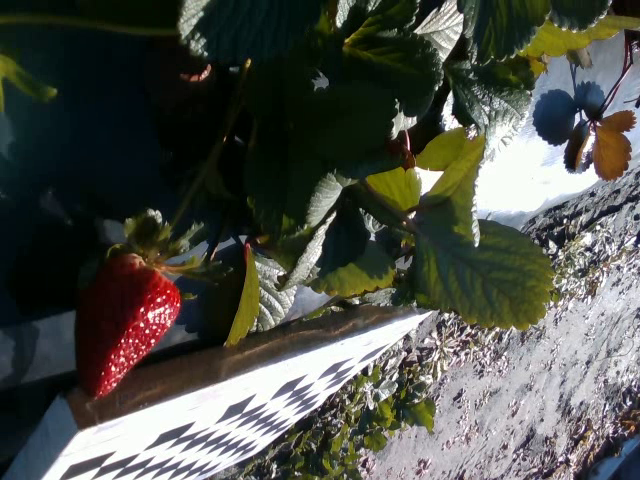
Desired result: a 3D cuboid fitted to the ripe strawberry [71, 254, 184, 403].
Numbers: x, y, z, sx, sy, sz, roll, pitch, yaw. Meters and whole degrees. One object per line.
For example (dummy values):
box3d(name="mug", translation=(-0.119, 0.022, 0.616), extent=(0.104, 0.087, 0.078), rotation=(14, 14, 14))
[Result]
box3d(name="ripe strawberry", translation=(-0.079, 0.032, 0.234), extent=(0.058, 0.062, 0.066), rotation=(-3, -18, 4))
